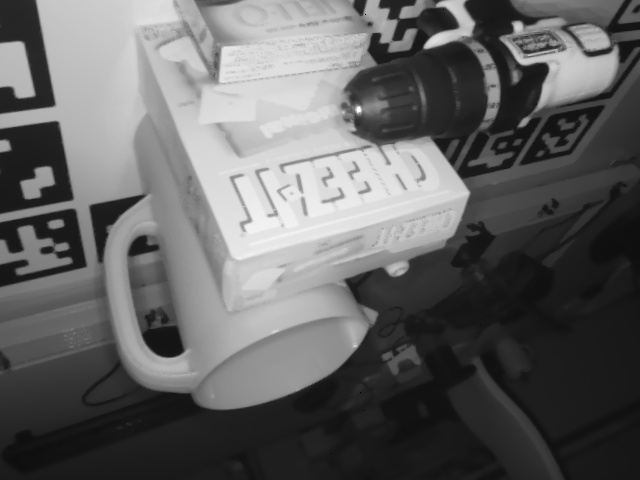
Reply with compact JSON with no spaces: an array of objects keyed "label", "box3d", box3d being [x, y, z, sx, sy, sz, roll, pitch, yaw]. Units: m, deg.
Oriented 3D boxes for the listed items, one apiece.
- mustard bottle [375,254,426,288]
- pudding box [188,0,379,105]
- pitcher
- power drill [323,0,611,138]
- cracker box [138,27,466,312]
[{"label":"mustard bottle","box3d":[0.041,-0.032,0.613,0.098,0.191,0.057,-4,140,-32]},{"label":"pudding box","box3d":[-0.027,-0.146,0.496,0.115,0.090,0.038,-14,147,-24]},{"label":"pitcher","box3d":[-0.077,0.004,0.557,0.192,0.242,0.131,-10,144,-27]},{"label":"power drill","box3d":[0.065,-0.145,0.436,0.187,0.187,0.056,-13,148,-20]},{"label":"cracker box","box3d":[-0.021,-0.073,0.501,0.166,0.213,0.071,-16,147,-21]}]
